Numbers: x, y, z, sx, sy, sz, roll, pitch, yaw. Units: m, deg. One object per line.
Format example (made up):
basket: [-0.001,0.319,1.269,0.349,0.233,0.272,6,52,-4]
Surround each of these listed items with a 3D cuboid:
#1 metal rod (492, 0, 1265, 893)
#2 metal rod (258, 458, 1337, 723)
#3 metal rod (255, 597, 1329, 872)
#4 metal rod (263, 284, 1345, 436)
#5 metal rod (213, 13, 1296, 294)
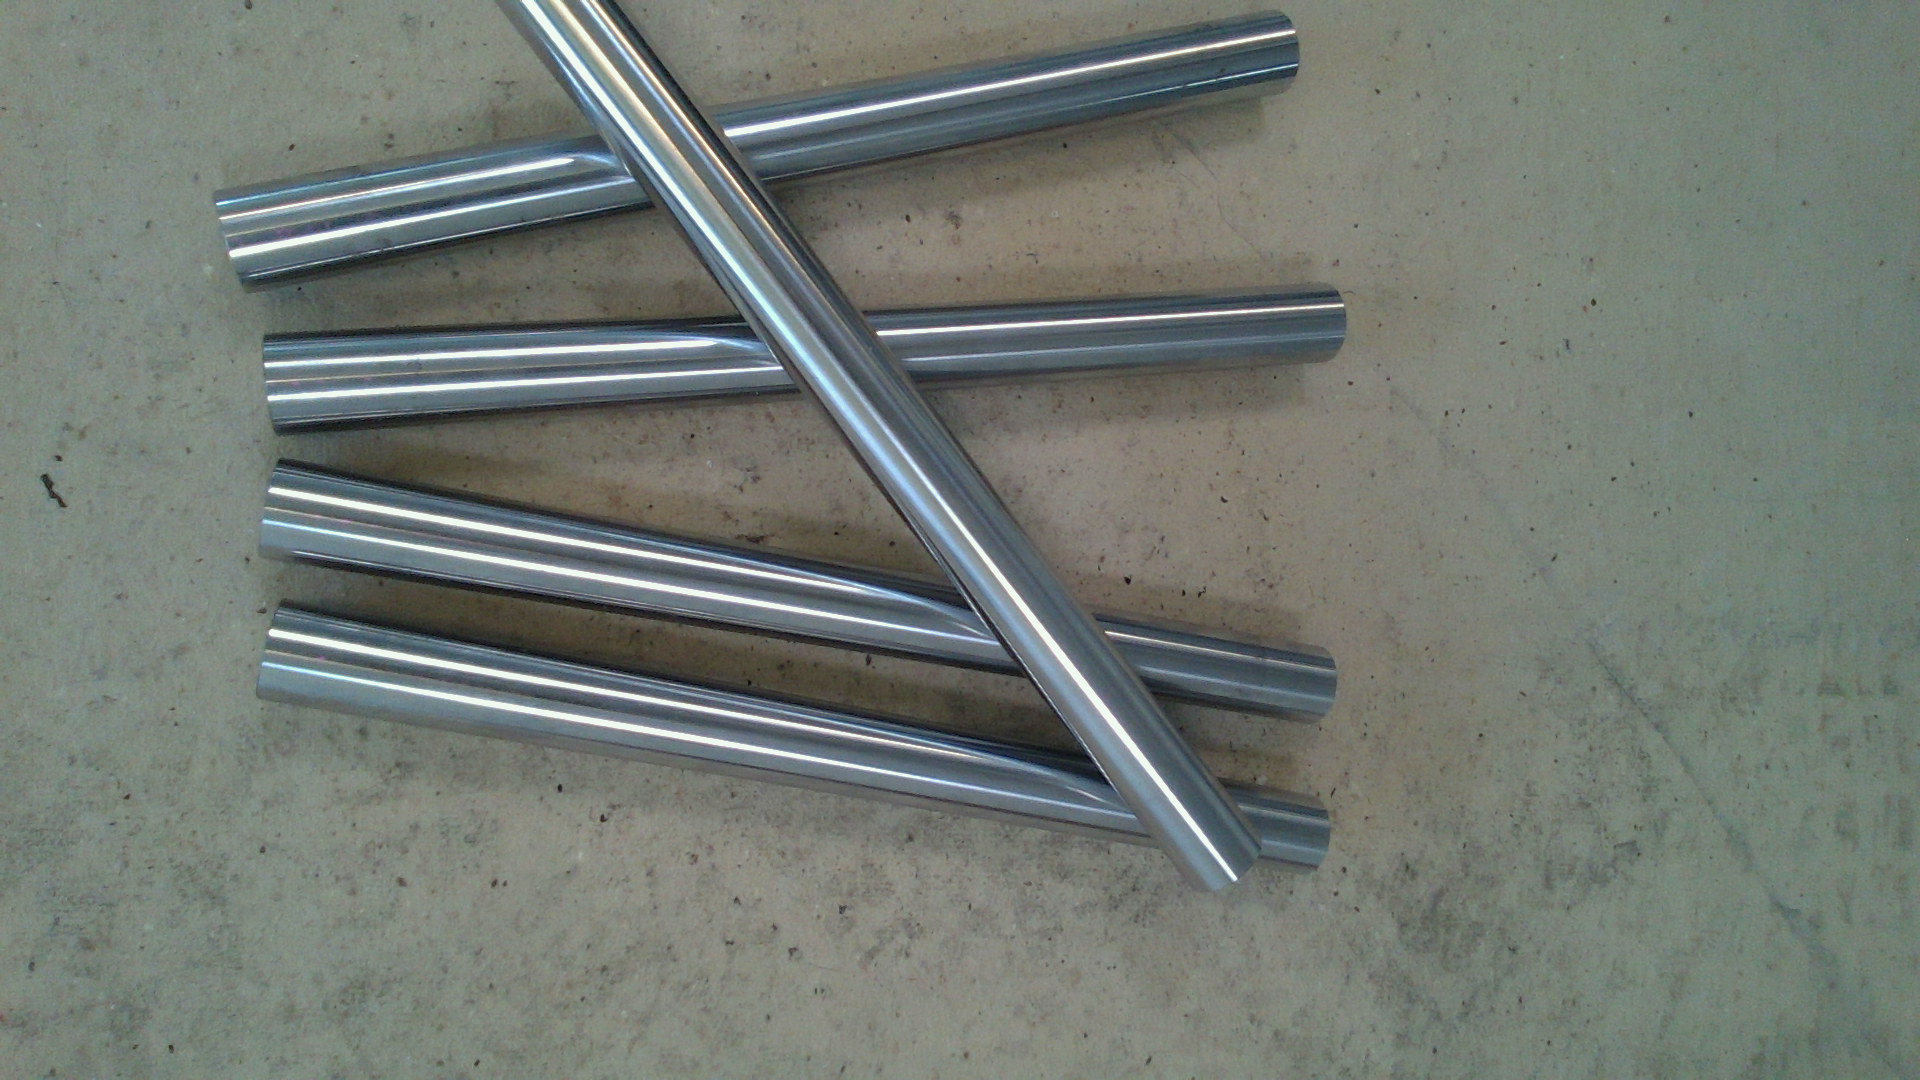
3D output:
metal rod: [-0.014,-0.024,0.362,0.025,0.025,0.300,-41,103,-15]
metal rod: [-0.028,0.019,0.383,0.301,0.025,0.025,11,86,-20]
metal rod: [-0.029,0.059,0.383,0.301,0.025,0.025,13,86,-20]
metal rod: [-0.026,-0.053,0.384,0.301,0.025,0.025,-6,92,-20]
metal rod: [-0.039,-0.111,0.380,0.301,0.025,0.025,-16,96,-19]
